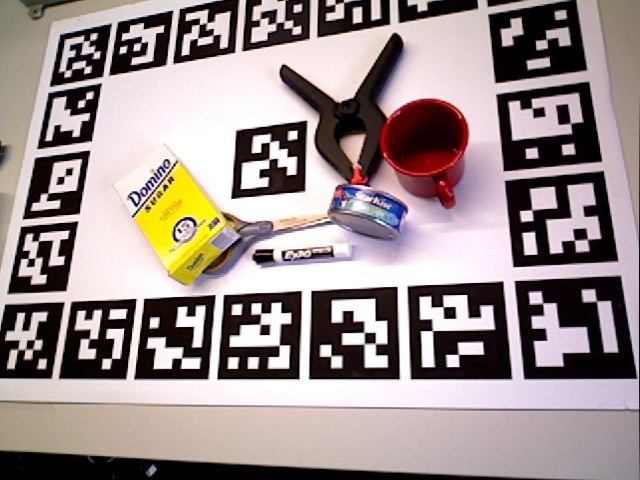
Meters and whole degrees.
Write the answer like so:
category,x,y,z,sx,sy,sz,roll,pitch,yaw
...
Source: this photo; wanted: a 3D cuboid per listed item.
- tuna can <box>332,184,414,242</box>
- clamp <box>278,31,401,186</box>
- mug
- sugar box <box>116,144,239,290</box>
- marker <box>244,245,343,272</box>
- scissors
category,x,y,z,sx,sy,sz,roll,pitch,yaw
tuna can,0.057,-0.028,0.596,0.086,0.086,0.033,13,76,20
clamp,0.038,-0.152,0.678,0.166,0.037,0.201,-14,71,12
mug,0.117,-0.081,0.600,0.093,0.082,0.116,-30,64,5
sugar box,-0.184,-0.034,0.688,0.093,0.045,0.175,-39,61,2
marker,-0.033,0.022,0.644,0.122,0.020,0.019,-8,71,15
scissors,-0.077,-0.014,0.667,0.203,0.016,0.087,-14,66,11
